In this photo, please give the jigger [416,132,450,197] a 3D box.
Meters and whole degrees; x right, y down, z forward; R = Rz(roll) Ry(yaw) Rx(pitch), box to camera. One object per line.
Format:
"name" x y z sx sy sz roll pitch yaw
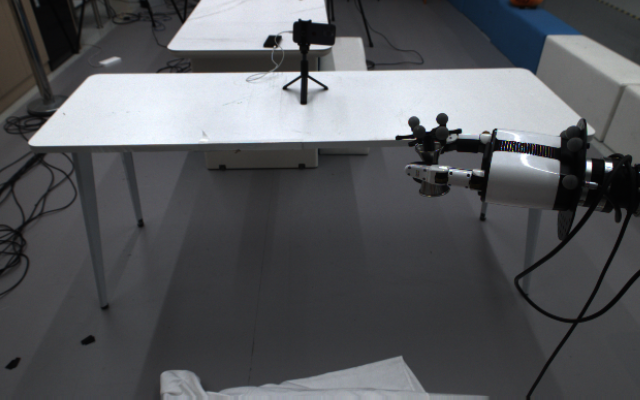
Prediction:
"jigger" 0.159 -0.046 0.690 0.043 0.071 0.043 -11 23 5
